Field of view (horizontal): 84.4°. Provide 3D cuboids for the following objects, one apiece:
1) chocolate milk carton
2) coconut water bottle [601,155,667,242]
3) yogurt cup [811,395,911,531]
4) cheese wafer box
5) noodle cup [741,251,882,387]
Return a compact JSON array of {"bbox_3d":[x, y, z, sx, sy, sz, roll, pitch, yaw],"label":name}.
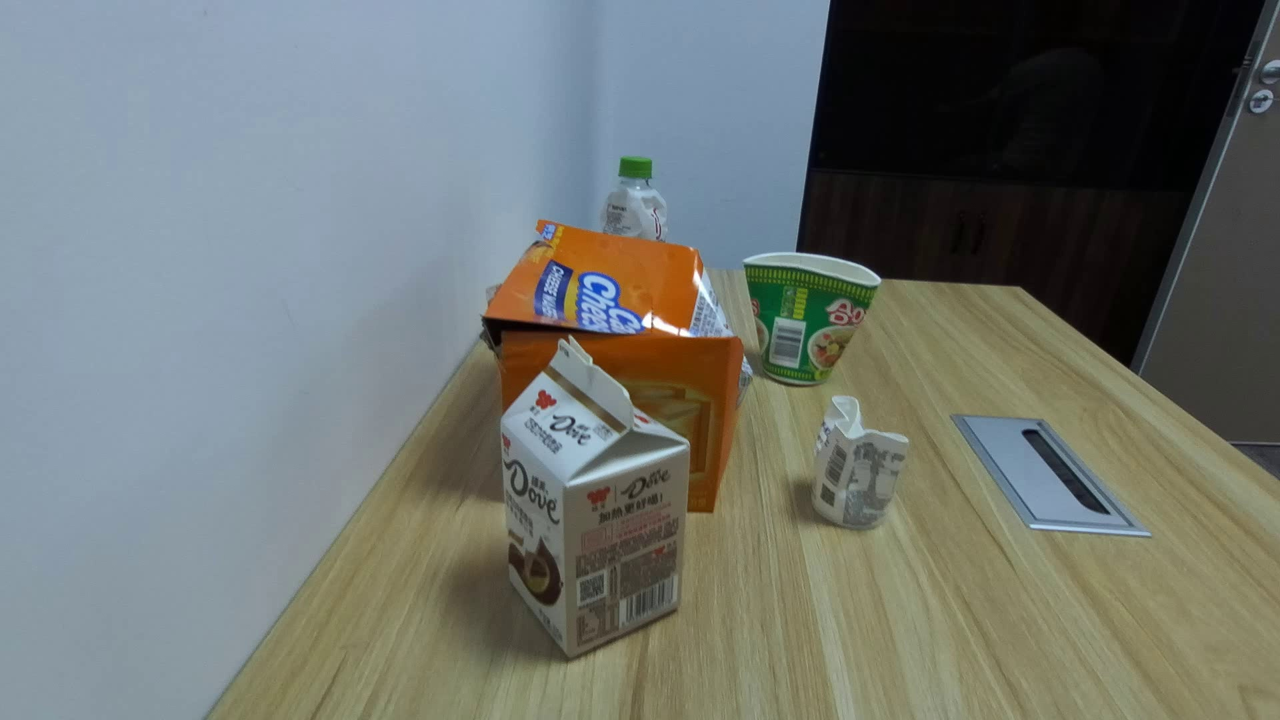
[{"bbox_3d":[-0.024,0.066,0.371,0.074,0.148,0.075,-14,29,-30],"label":"chocolate milk carton"},{"bbox_3d":[-0.008,-0.106,0.704,0.067,0.187,0.067,2,22,-1],"label":"coconut water bottle"},{"bbox_3d":[0.145,0.069,0.473,0.055,0.072,0.055,4,26,9],"label":"yogurt cup"},{"bbox_3d":[-0.006,-0.009,0.544,0.191,0.145,0.218,2,24,-1],"label":"cheese wafer box"},{"bbox_3d":[0.155,-0.038,0.661,0.070,0.111,0.114,-21,35,-39],"label":"noodle cup"}]
